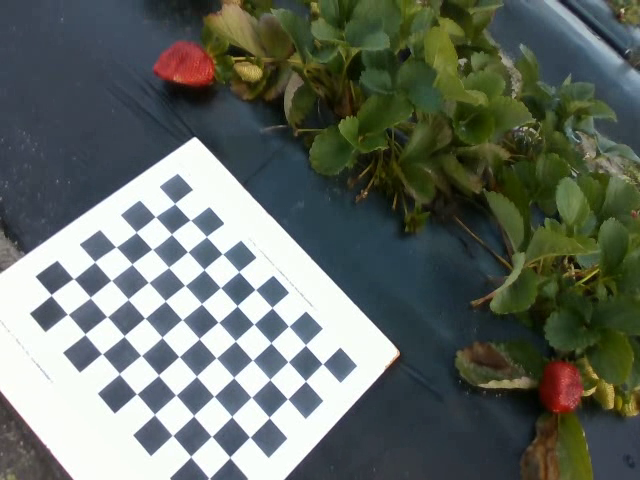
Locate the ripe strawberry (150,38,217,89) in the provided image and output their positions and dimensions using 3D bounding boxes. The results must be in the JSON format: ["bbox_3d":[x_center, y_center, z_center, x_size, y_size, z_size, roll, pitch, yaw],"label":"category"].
[{"bbox_3d":[-0.155,-0.199,0.681,0.074,0.067,0.039,-37,-12,-25],"label":"ripe strawberry"}]
